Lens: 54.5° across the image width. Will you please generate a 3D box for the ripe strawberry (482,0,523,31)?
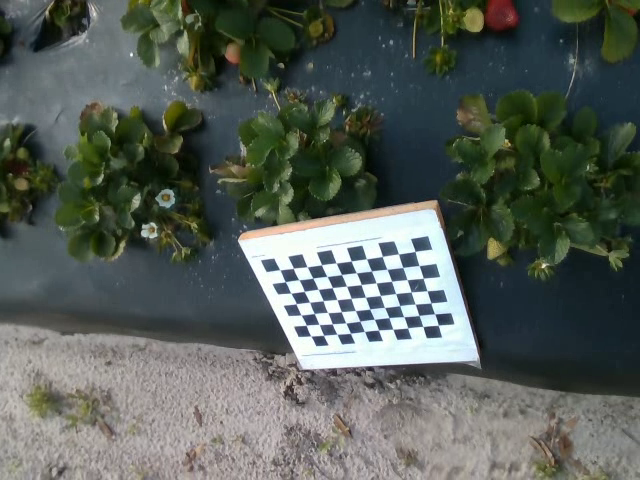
[{"bbox_3d":[0.263,-0.314,0.864,0.048,0.051,0.055,-5,45,-24],"label":"ripe strawberry"}]
